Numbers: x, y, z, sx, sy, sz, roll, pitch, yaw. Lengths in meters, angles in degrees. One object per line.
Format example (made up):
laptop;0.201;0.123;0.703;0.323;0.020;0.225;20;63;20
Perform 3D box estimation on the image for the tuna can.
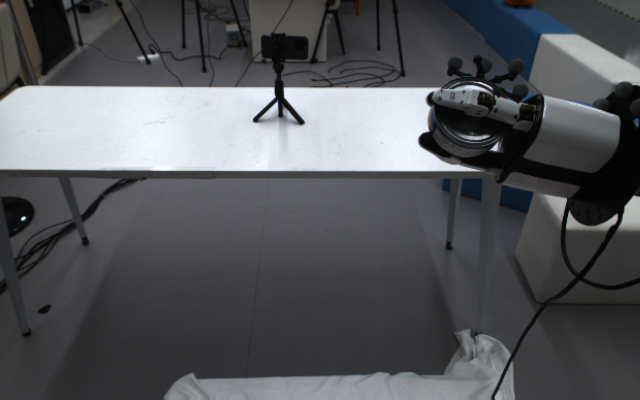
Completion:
tuna can;0.167;-0.095;0.543;0.085;0.034;0.085;0;72;0
